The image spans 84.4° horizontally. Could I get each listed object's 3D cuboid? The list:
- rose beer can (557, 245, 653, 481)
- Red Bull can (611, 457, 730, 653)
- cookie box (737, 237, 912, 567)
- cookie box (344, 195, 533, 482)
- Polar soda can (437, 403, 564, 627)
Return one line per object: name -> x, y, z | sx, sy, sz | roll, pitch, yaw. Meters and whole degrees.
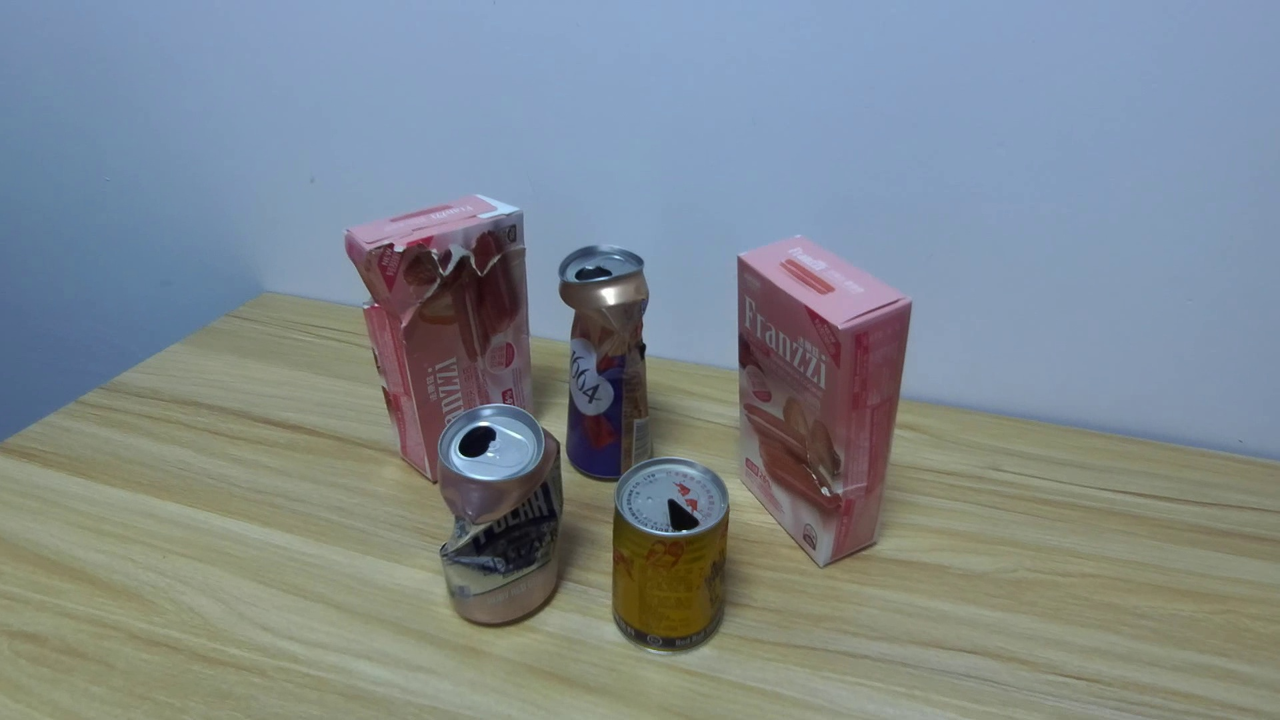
rose beer can -> -0.022, 0.005, 0.494 | 0.073, 0.162, 0.068 | 14, 34, 25
Red Bull can -> 0.017, 0.109, 0.393 | 0.069, 0.092, 0.069 | 0, 32, 0
cookie box -> 0.107, 0.032, 0.429 | 0.049, 0.188, 0.104 | -20, 37, -18
cookie box -> -0.129, -0.011, 0.498 | 0.105, 0.186, 0.059 | -27, 40, -35
Polar soda can -> -0.080, 0.092, 0.399 | 0.066, 0.122, 0.071 | 7, 34, 3
